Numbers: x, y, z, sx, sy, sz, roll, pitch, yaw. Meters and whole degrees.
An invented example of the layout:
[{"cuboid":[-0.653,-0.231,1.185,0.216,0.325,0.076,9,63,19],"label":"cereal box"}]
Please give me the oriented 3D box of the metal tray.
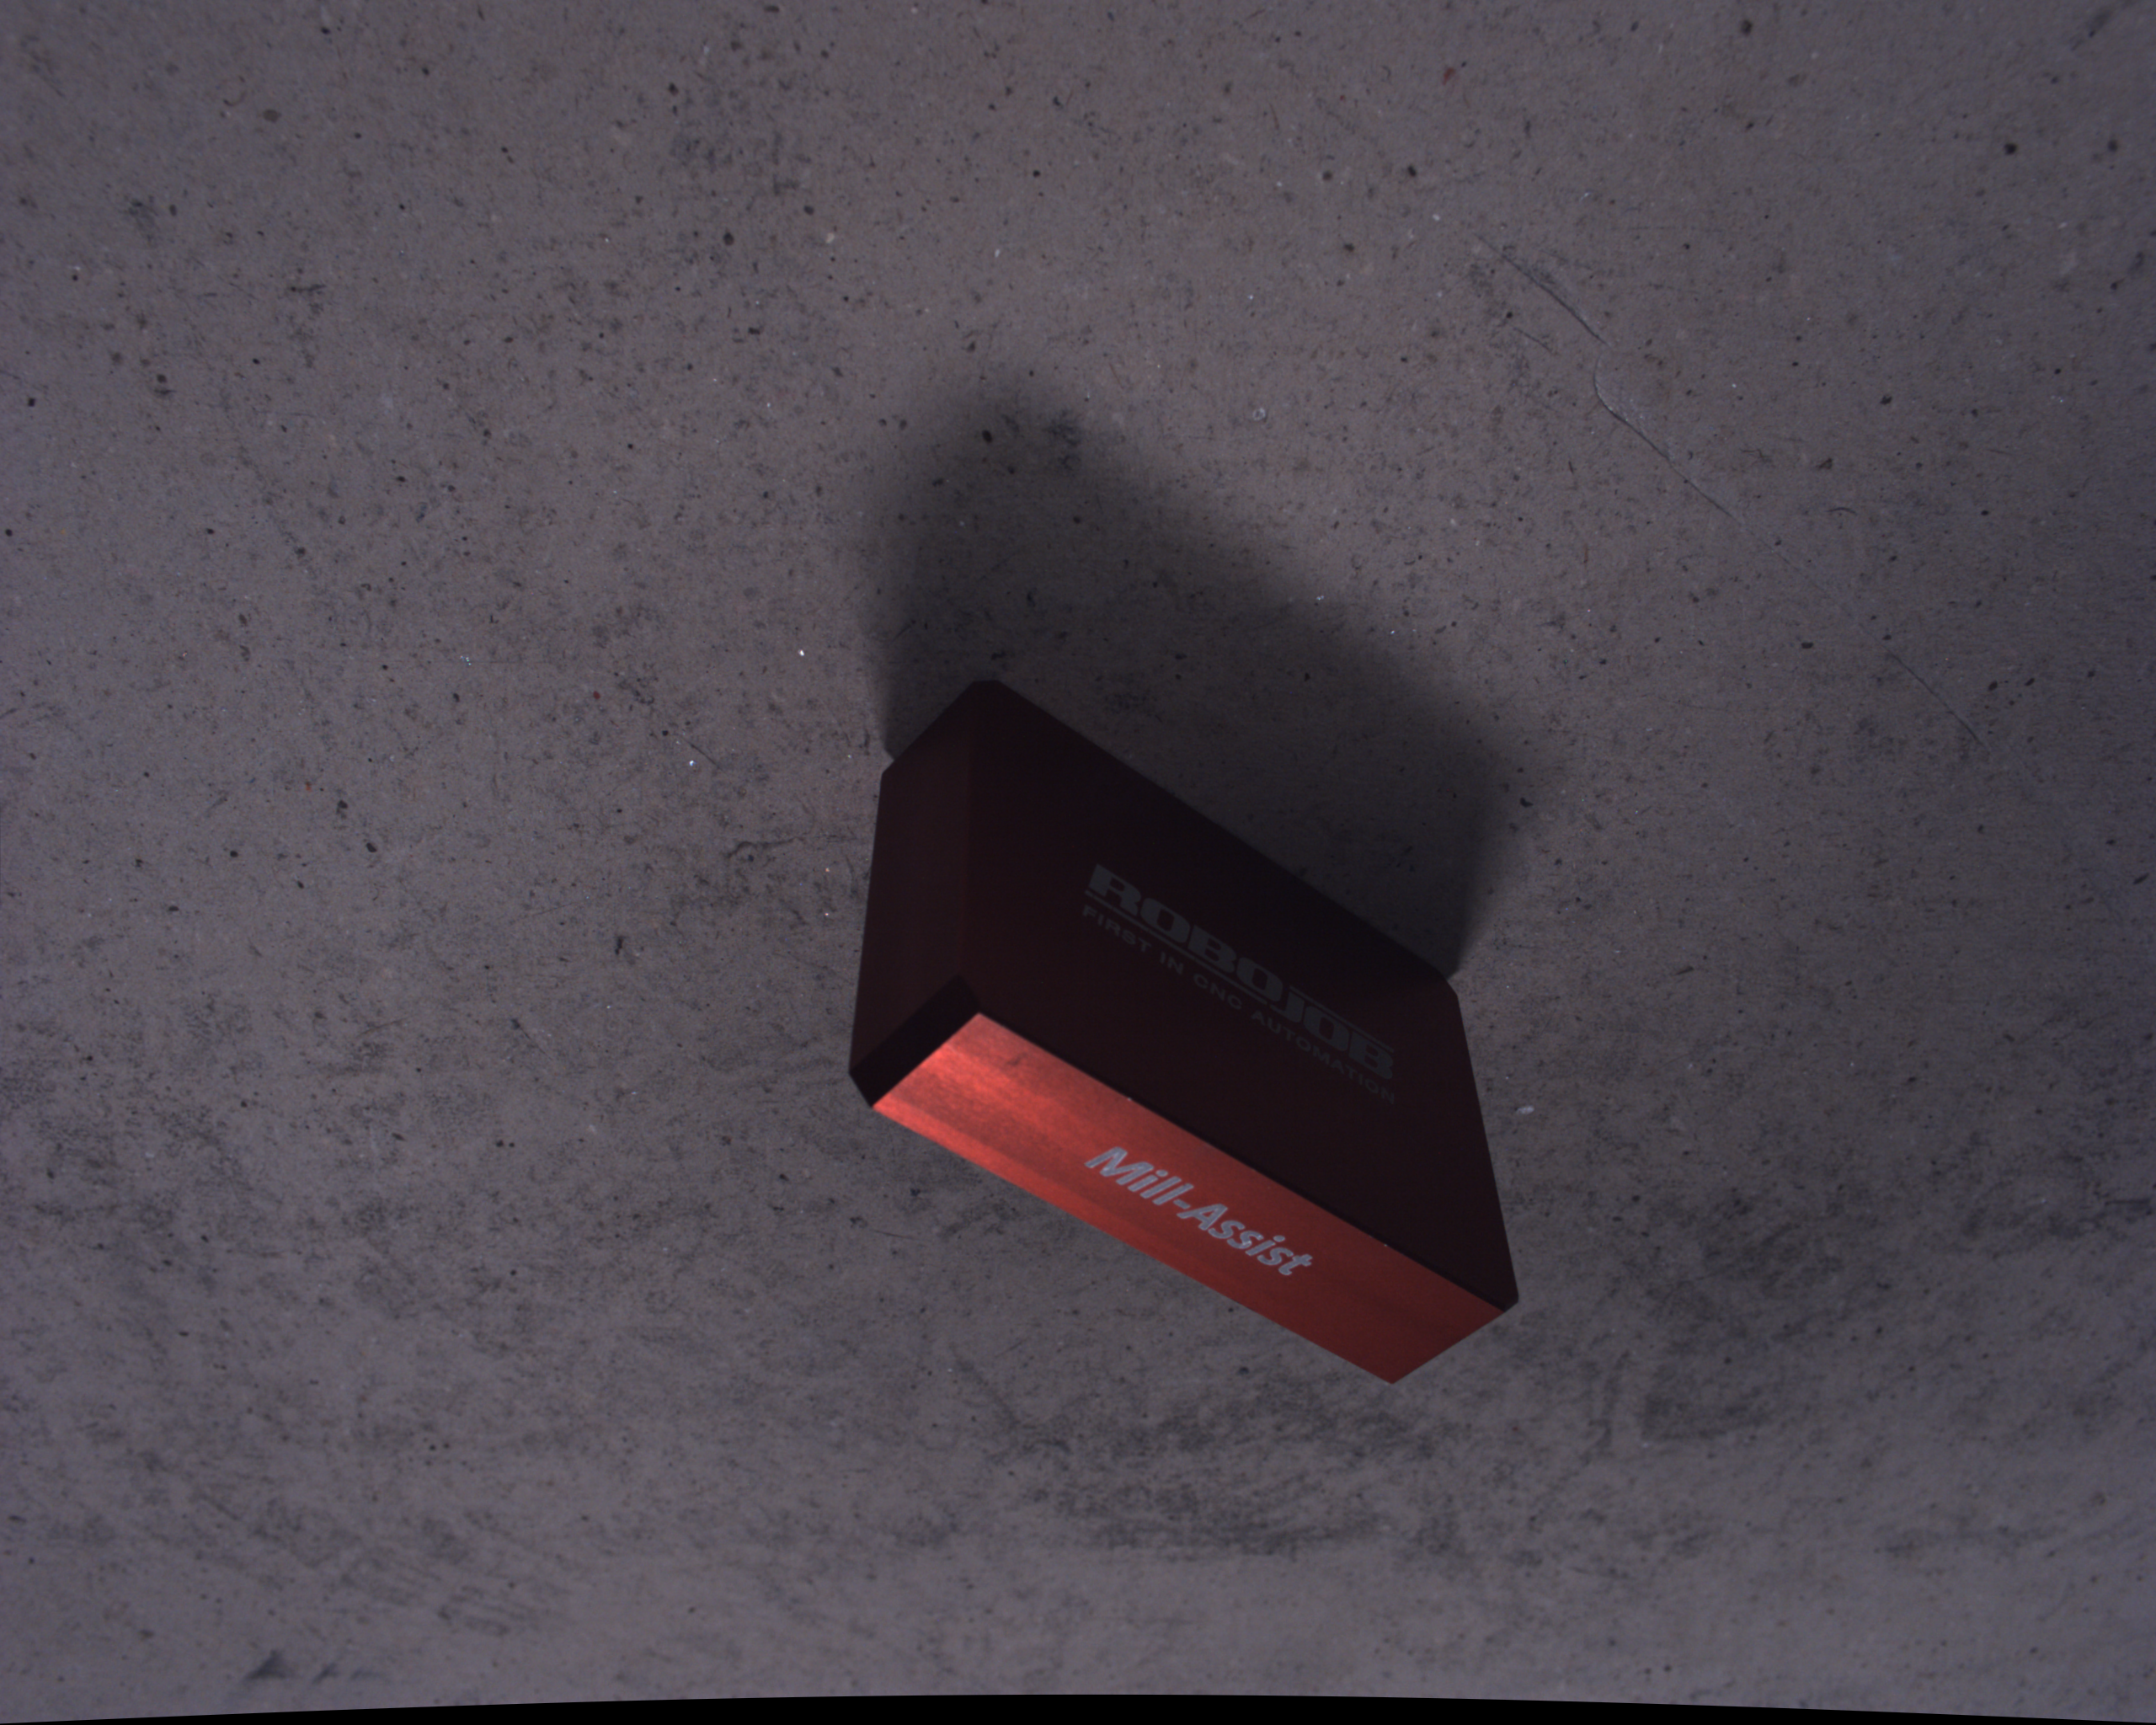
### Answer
[{"cuboid":[0.021,0.032,0.393,0.130,0.090,0.030,32,123,-25],"label":"metal tray"}]
